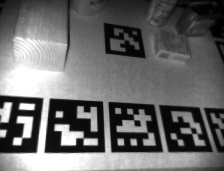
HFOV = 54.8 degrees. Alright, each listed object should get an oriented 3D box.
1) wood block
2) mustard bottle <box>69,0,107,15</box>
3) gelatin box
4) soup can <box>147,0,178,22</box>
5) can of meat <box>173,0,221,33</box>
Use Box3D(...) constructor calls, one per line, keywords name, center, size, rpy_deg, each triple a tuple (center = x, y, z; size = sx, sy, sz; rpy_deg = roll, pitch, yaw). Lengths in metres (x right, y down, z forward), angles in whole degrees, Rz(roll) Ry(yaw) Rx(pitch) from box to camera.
Box3D(name="wood block", center=(-0.144, -0.147, 0.455), size=(0.091, 0.090, 0.205), rpy_deg=(6, 55, -14))
Box3D(name="mustard bottle", center=(-0.042, -0.253, 0.494), size=(0.097, 0.191, 0.058), rpy_deg=(-20, 66, -26))
Box3D(name="gelatin box", center=(0.156, -0.106, 0.551), size=(0.089, 0.030, 0.073), rpy_deg=(12, 59, -6))
Box3D(name="soup can", center=(0.139, -0.229, 0.571), size=(0.068, 0.102, 0.067), rpy_deg=(7, 60, -11))
Box3D(name="can of meat", center=(0.231, -0.193, 0.599), size=(0.103, 0.083, 0.057), rpy_deg=(-8, 63, -23))
